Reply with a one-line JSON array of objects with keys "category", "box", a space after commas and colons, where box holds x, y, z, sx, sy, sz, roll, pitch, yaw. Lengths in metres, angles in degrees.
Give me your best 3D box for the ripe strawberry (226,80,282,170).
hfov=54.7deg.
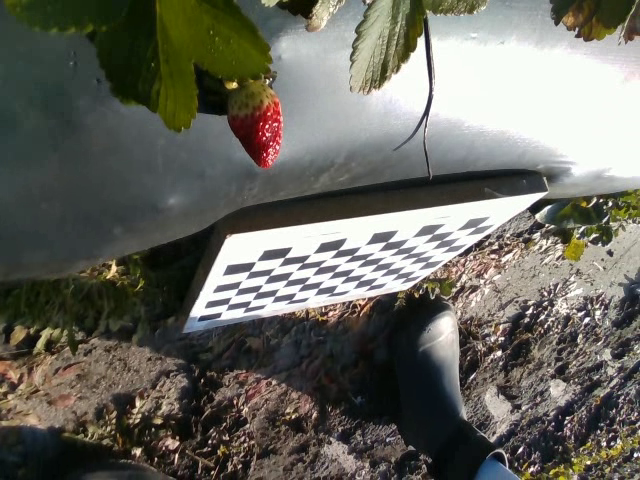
[{"category": "ripe strawberry", "box": [-0.026, -0.046, 0.259, 0.028, 0.041, 0.031, -16, 16, 1]}]
